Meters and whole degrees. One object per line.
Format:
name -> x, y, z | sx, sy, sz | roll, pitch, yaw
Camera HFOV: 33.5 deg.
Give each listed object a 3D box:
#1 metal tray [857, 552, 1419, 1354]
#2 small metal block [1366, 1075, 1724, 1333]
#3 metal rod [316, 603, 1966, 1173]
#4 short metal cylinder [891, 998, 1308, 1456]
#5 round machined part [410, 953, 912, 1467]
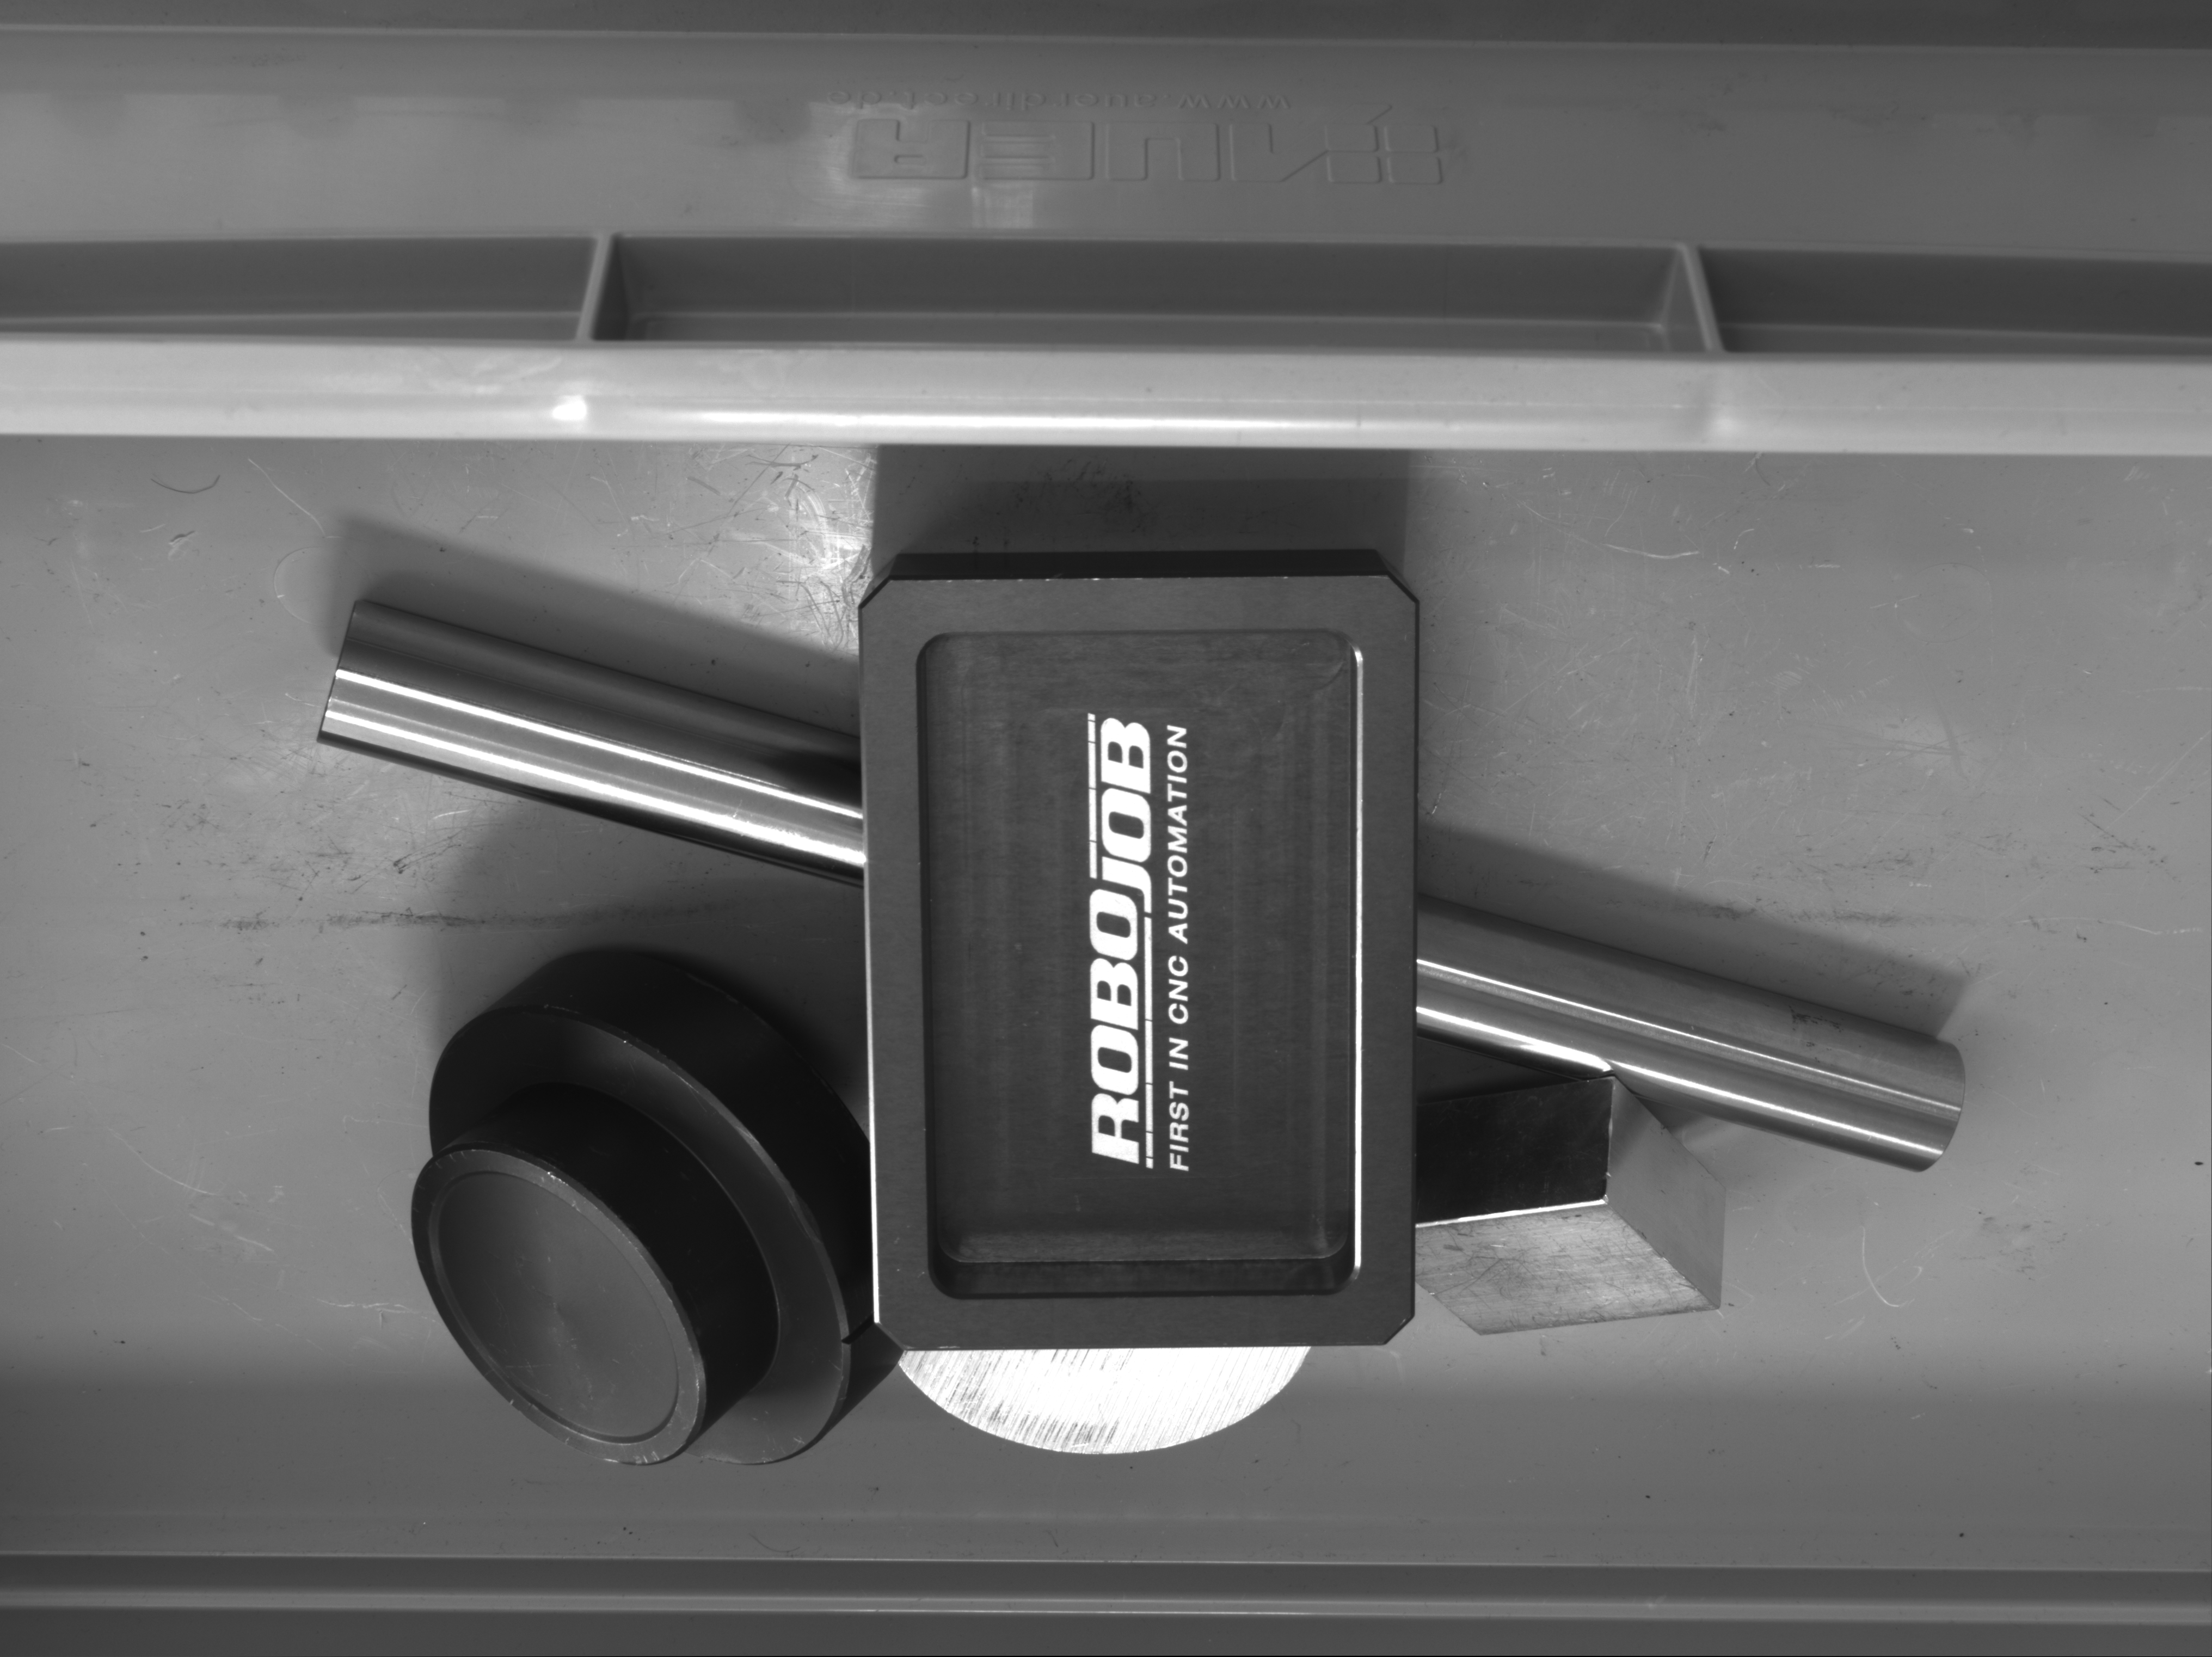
metal tray -> 0.006, 0.021, 0.614 | 0.090, 0.030, 0.130 | -1, 101, 0
small metal block -> 0.081, 0.071, 0.683 | 0.050, 0.025, 0.050 | -12, 147, 30
metal rod -> 0.012, 0.013, 0.649 | 0.300, 0.025, 0.025 | 15, 128, -13
short metal cylinder -> -0.001, 0.071, 0.681 | 0.080, 0.050, 0.080 | 0, 130, 0
round machined part -> -0.085, 0.075, 0.659 | 0.098, 0.042, 0.098 | 20, 130, 26
